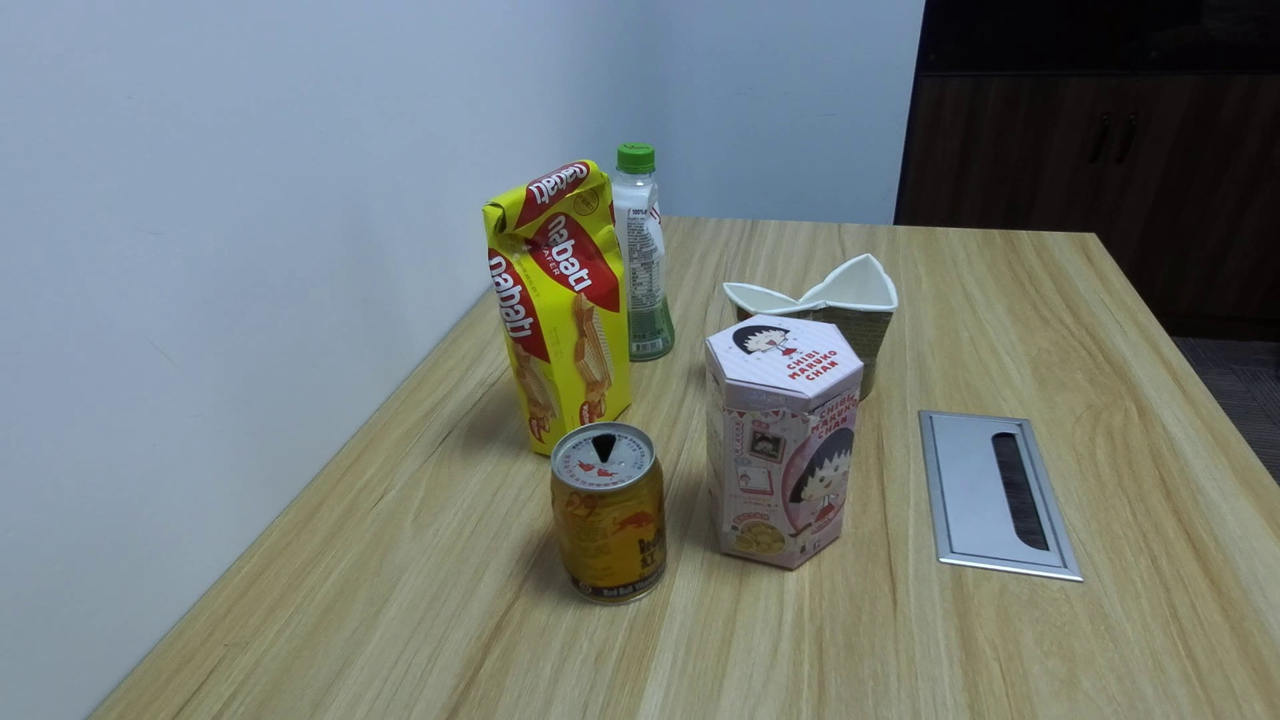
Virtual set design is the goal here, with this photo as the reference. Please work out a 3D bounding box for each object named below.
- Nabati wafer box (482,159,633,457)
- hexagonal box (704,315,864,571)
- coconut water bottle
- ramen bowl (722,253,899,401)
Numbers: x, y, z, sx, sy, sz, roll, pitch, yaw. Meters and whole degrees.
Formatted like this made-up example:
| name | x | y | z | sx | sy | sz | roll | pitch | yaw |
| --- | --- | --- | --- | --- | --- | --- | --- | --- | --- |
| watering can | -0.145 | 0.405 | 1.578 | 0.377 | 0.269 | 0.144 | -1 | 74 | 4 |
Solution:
| name | x | y | z | sx | sy | sz | roll | pitch | yaw |
| --- | --- | --- | --- | --- | --- | --- | --- | --- | --- |
| Nabati wafer box | -0.052 | -0.032 | 0.517 | 0.042 | 0.205 | 0.113 | 14 | 38 | 28 |
| hexagonal box | 0.085 | 0.051 | 0.432 | 0.091 | 0.136 | 0.083 | -26 | 38 | -31 |
| coconut water bottle | -0.002 | -0.094 | 0.620 | 0.069 | 0.187 | 0.069 | -2 | 28 | 2 |
| ramen bowl | 0.136 | -0.025 | 0.588 | 0.128 | 0.093 | 0.111 | -2 | 33 | 2 |
